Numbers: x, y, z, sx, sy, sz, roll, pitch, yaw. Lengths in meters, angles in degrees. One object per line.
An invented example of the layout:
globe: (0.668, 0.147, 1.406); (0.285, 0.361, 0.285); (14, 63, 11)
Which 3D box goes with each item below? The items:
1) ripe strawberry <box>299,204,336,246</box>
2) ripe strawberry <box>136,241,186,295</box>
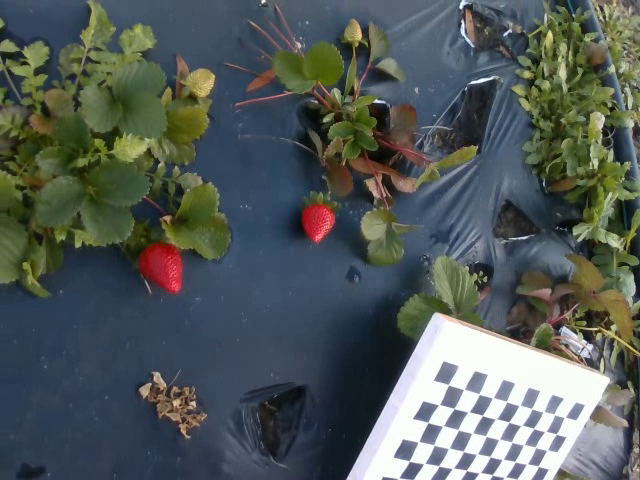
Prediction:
ripe strawberry: (-0.002, -0.012, 0.594); (0.041, 0.052, 0.045); (-13, -43, 25)
ripe strawberry: (-0.136, 0.029, 0.523); (0.050, 0.046, 0.050); (22, 27, -42)
